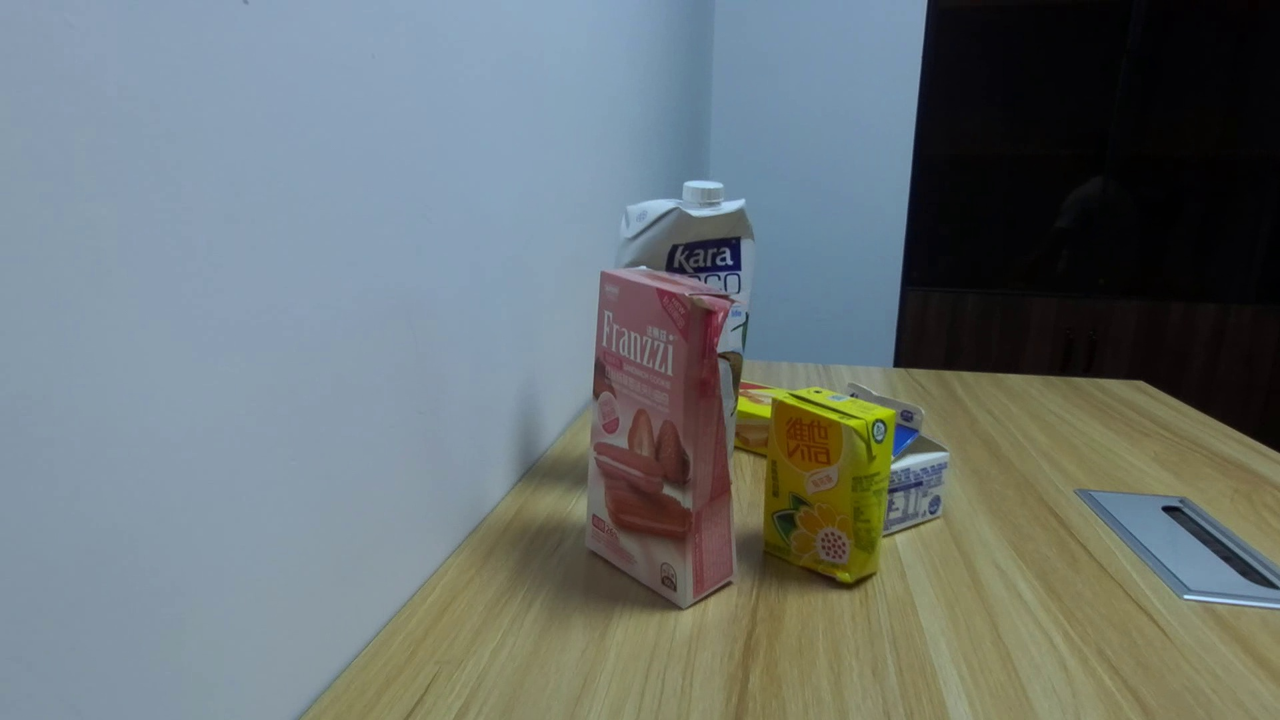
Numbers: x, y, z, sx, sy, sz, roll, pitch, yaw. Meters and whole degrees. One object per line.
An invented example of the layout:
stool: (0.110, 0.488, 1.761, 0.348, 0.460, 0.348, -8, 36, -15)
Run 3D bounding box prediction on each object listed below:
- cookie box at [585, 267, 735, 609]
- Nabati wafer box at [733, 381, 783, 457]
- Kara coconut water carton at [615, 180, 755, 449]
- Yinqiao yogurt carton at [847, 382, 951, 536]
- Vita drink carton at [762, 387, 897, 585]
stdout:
cookie box: (0.015, 0.043, 0.424, 0.056, 0.184, 0.118, -8, 17, -34)
Nabati wafer box: (0.083, 0.051, 0.618, 0.202, 0.042, 0.093, 10, 12, 28)
Kara coconut water carton: (0.033, -0.016, 0.548, 0.115, 0.238, 0.069, -8, 17, -32)
Yinqiao yogurt carton: (0.176, 0.068, 0.521, 0.074, 0.092, 0.075, -8, 18, -30)
Vita drink carton: (0.119, 0.078, 0.439, 0.043, 0.109, 0.076, -9, 18, -33)
